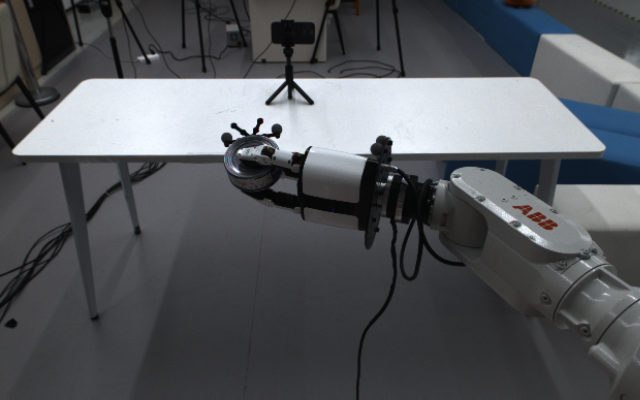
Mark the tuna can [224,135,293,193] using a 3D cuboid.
[{"bbox_3d":[-0.096,-0.050,0.723,0.085,0.034,0.085,-3,58,5],"label":"tuna can"}]
